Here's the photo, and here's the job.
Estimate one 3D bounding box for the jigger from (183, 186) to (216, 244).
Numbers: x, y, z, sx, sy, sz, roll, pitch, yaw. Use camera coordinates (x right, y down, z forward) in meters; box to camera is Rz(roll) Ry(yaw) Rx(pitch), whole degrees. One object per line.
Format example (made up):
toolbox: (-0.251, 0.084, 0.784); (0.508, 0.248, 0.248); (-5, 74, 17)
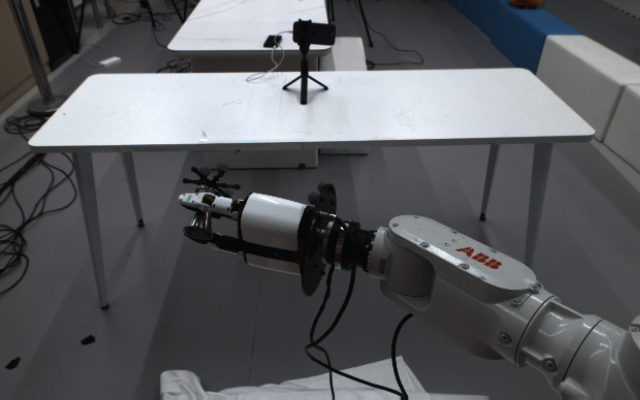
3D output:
jigger: (-0.176, 0.018, 0.715); (0.043, 0.043, 0.071); (6, 61, 6)
